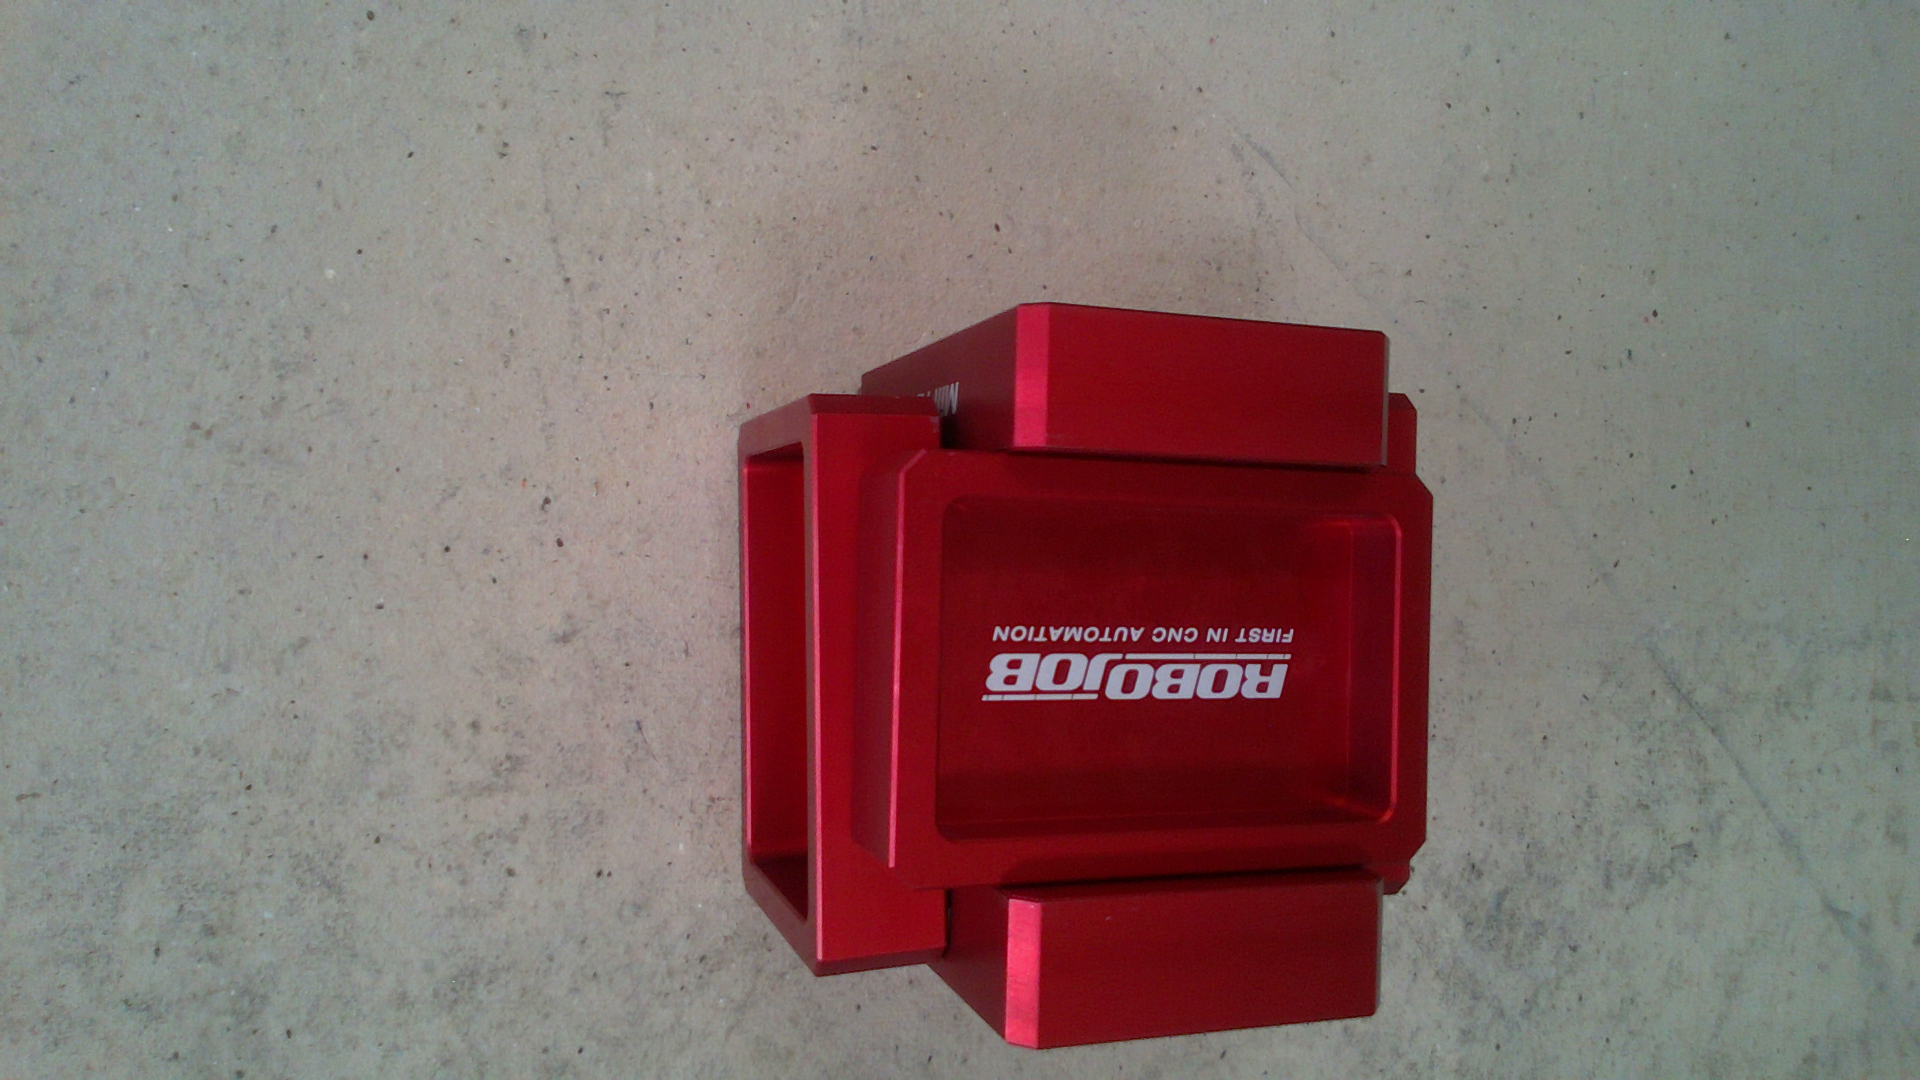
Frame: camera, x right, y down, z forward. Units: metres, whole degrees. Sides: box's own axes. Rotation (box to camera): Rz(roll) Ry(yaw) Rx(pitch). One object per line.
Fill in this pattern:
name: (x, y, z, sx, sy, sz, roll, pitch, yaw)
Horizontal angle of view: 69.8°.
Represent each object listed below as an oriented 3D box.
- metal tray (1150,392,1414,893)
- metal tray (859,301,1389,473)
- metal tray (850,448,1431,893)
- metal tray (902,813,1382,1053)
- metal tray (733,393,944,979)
metal tray: (0.088, 0.027, 0.391, 0.030, 0.090, 0.130, 2, 88, -19)
metal tray: (0.034, -0.032, 0.350, 0.090, 0.130, 0.030, 2, 89, -20)
metal tray: (0.043, 0.028, 0.311, 0.130, 0.030, 0.090, 2, 90, -20)
metal tray: (0.032, 0.088, 0.350, 0.090, 0.130, 0.030, 1, 90, -20)
metal tray: (-0.033, 0.032, 0.347, 0.030, 0.090, 0.130, -1, 90, -20)
